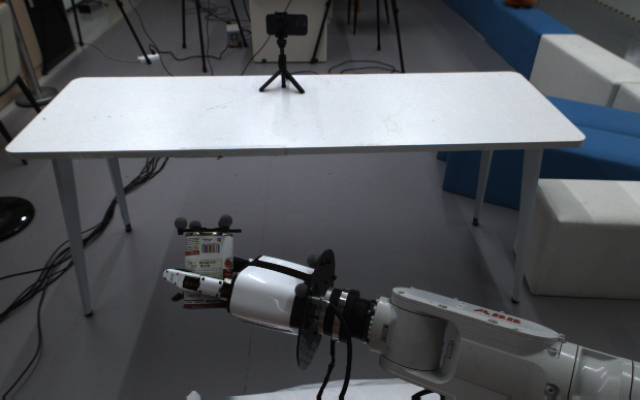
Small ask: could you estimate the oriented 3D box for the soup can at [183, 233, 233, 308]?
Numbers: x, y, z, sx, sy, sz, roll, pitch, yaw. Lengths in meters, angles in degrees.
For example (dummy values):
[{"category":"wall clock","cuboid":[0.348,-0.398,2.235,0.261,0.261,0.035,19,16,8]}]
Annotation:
[{"category":"soup can","cuboid":[-0.154,0.099,0.672,0.067,0.101,0.067,-1,-9,0]}]
